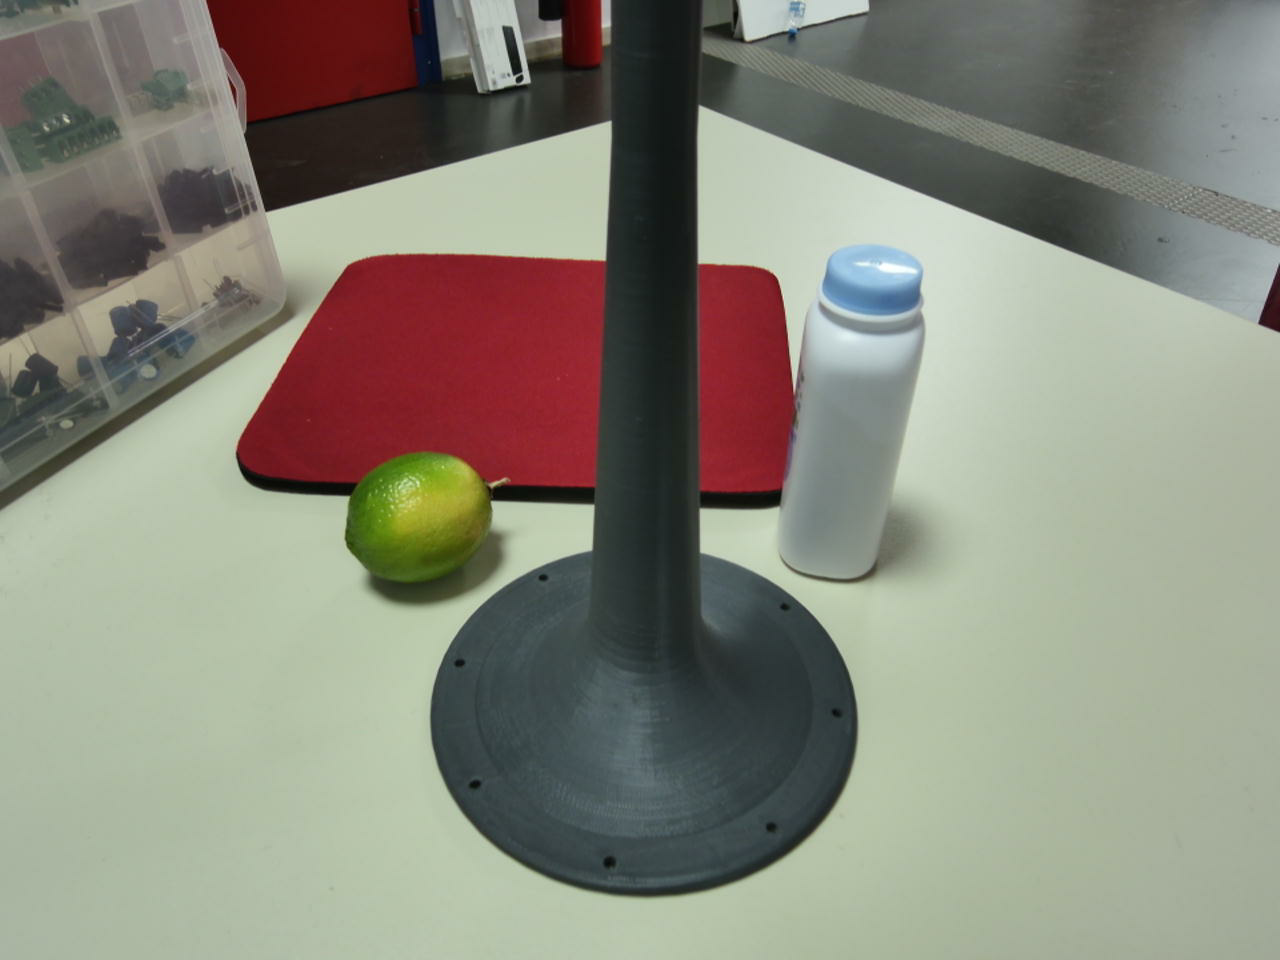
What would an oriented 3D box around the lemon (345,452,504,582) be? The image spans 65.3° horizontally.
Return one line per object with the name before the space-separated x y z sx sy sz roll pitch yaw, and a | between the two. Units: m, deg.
lemon | -0.087 0.014 0.396 0.055 0.050 0.054 6 37 8
